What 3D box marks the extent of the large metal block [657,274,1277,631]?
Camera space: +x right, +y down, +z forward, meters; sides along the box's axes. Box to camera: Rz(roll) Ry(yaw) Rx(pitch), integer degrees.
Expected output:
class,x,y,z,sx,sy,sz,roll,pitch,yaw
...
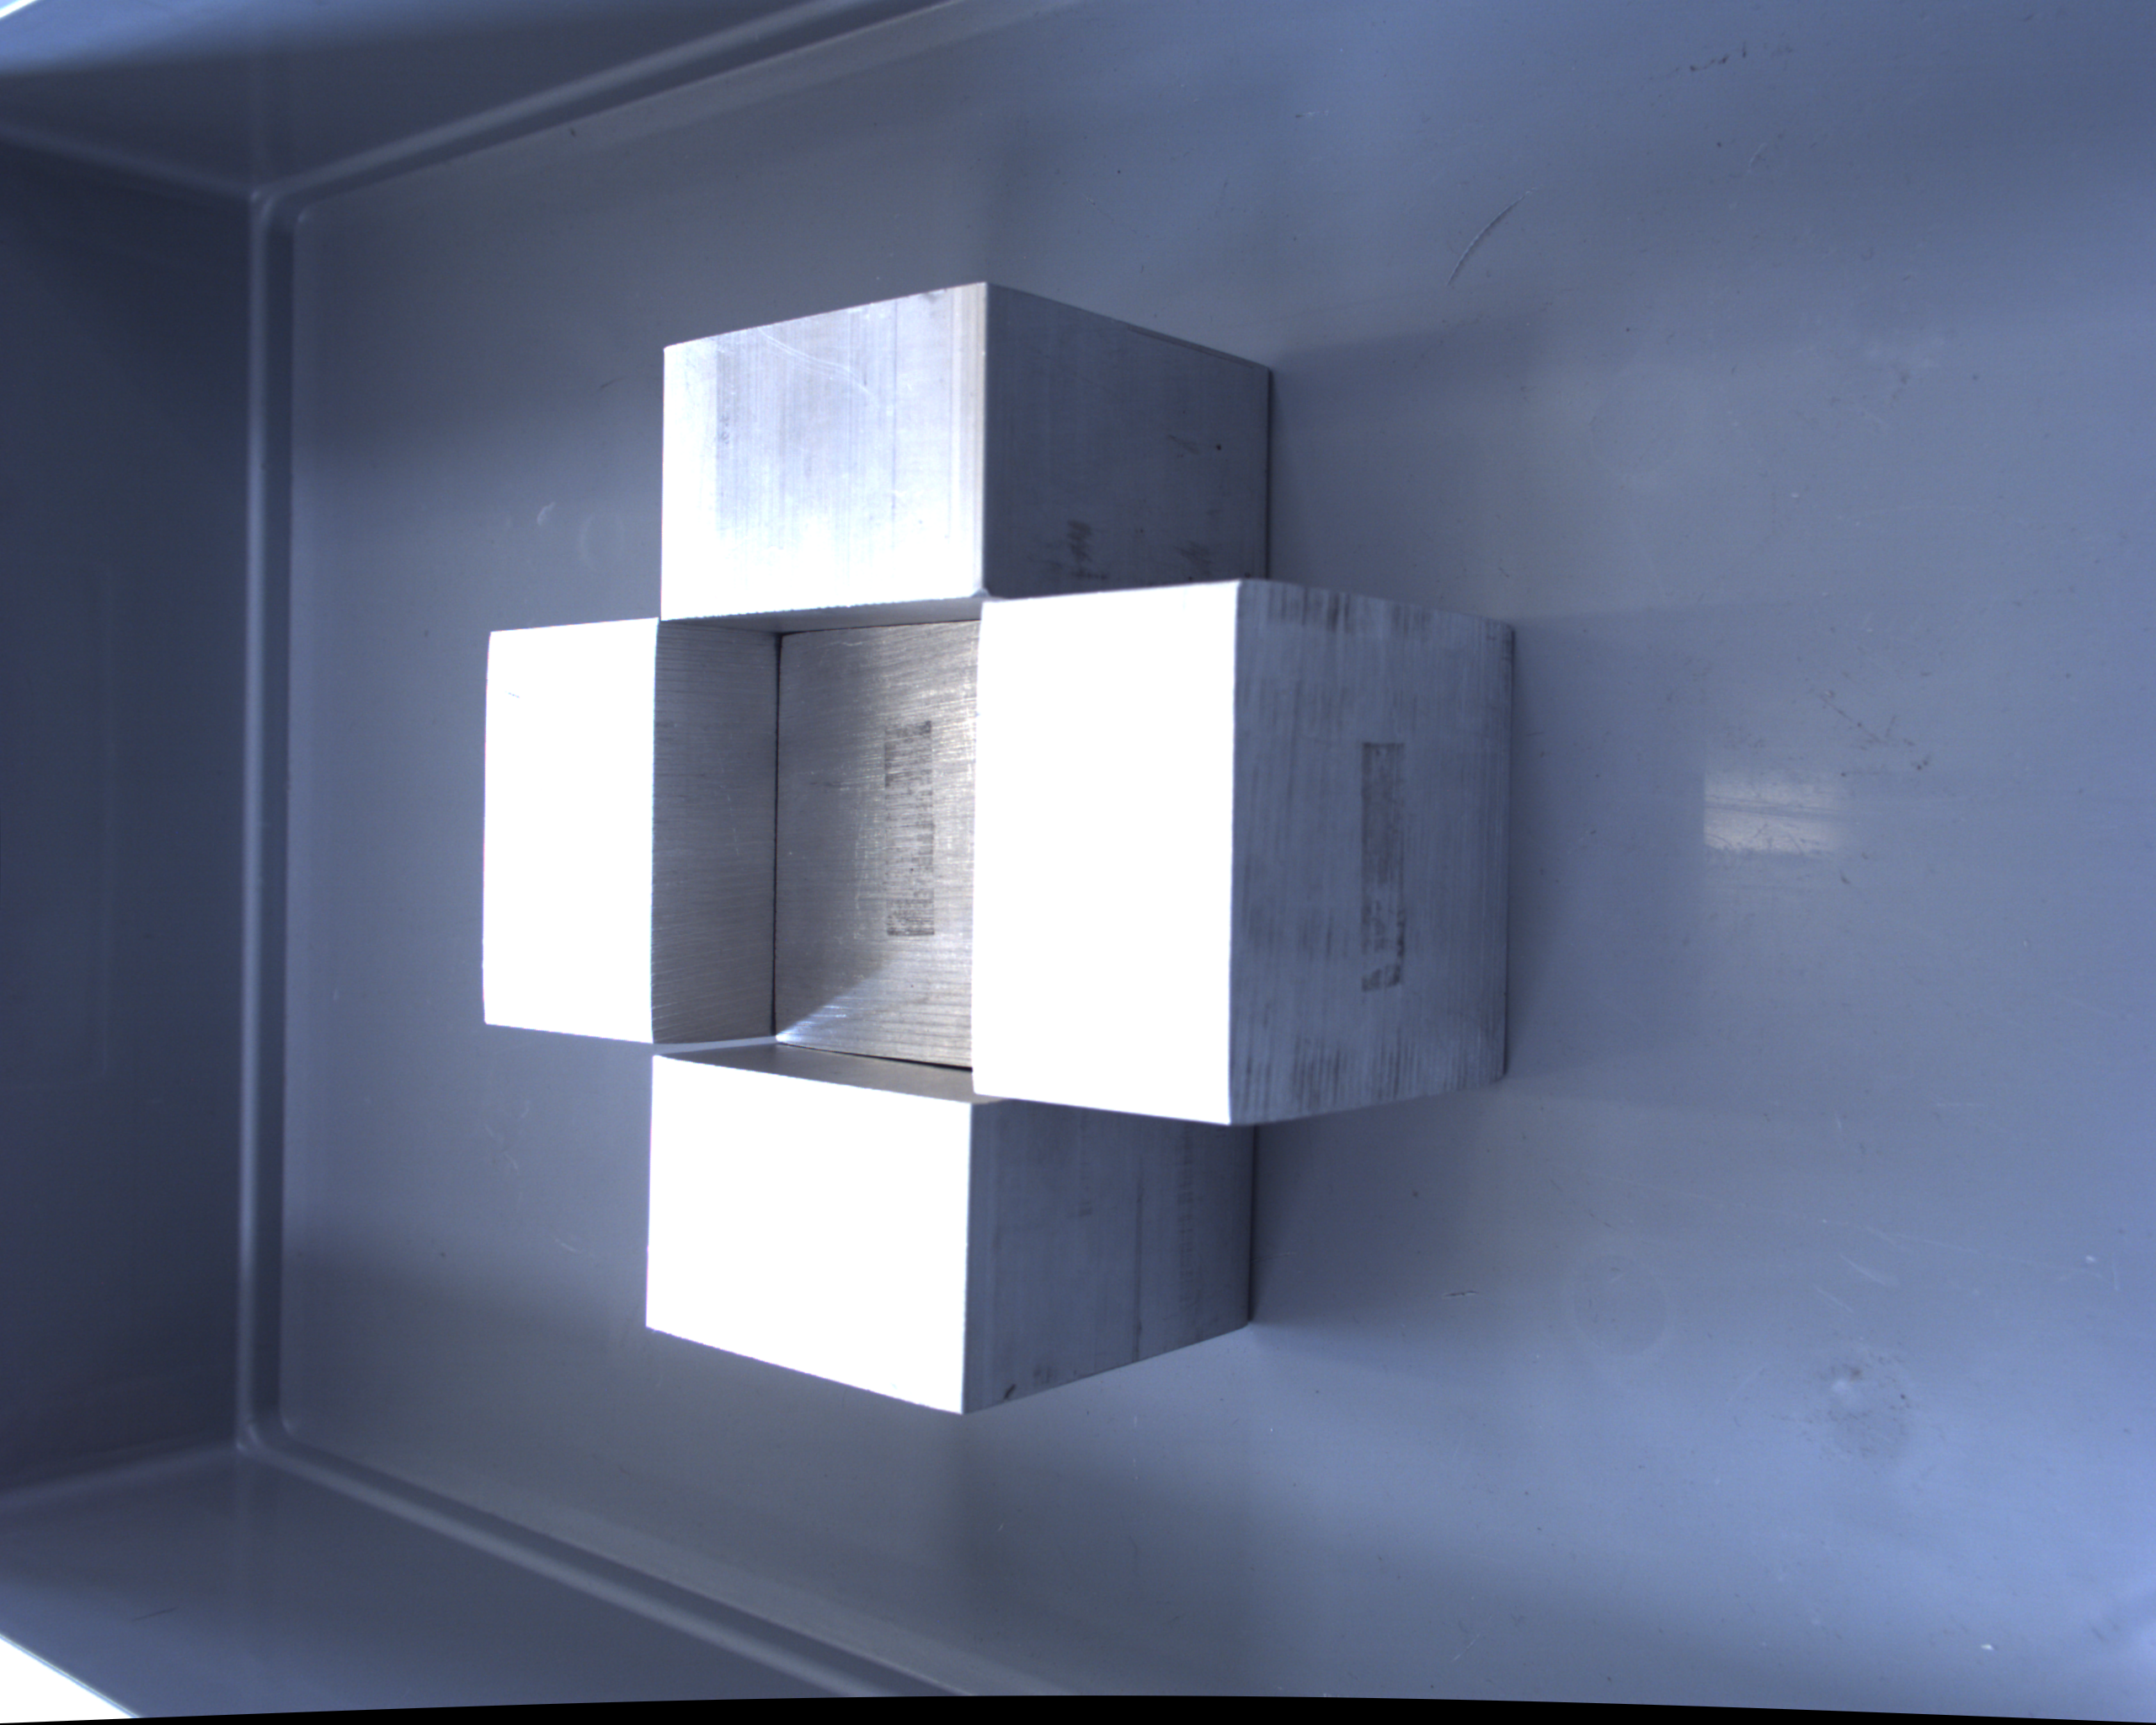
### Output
class,x,y,z,sx,sy,sz,roll,pitch,yaw
large metal block,-0.020,-0.069,0.385,0.080,0.081,0.050,1,91,40

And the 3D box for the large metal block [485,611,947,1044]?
class,x,y,z,sx,sy,sz,roll,pitch,yaw
large metal block,-0.072,-0.007,0.430,0.050,0.081,0.080,1,91,40

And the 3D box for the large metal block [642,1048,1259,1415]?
class,x,y,z,sx,sy,sz,roll,pitch,yaw
large metal block,-0.023,0.061,0.388,0.080,0.081,0.050,3,92,40

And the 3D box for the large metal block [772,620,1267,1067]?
class,x,y,z,sx,sy,sz,roll,pitch,yaw
large metal block,-0.012,-0.004,0.397,0.080,0.050,0.080,1,91,40

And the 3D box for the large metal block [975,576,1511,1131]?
class,x,y,z,sx,sy,sz,roll,pitch,yaw
large metal block,0.029,-0.002,0.346,0.050,0.081,0.080,1,91,40
